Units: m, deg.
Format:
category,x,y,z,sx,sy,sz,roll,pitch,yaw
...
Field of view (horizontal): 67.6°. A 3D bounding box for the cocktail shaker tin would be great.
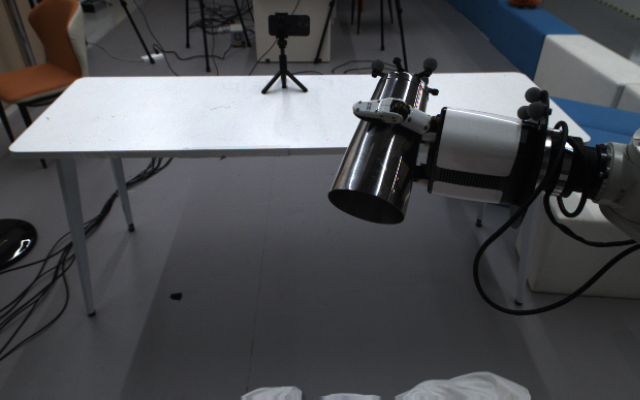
category,x,y,z,sx,sy,sz,roll,pitch,yaw
cocktail shaker tin,0.080,-0.067,0.584,0.093,0.093,0.170,13,70,16
